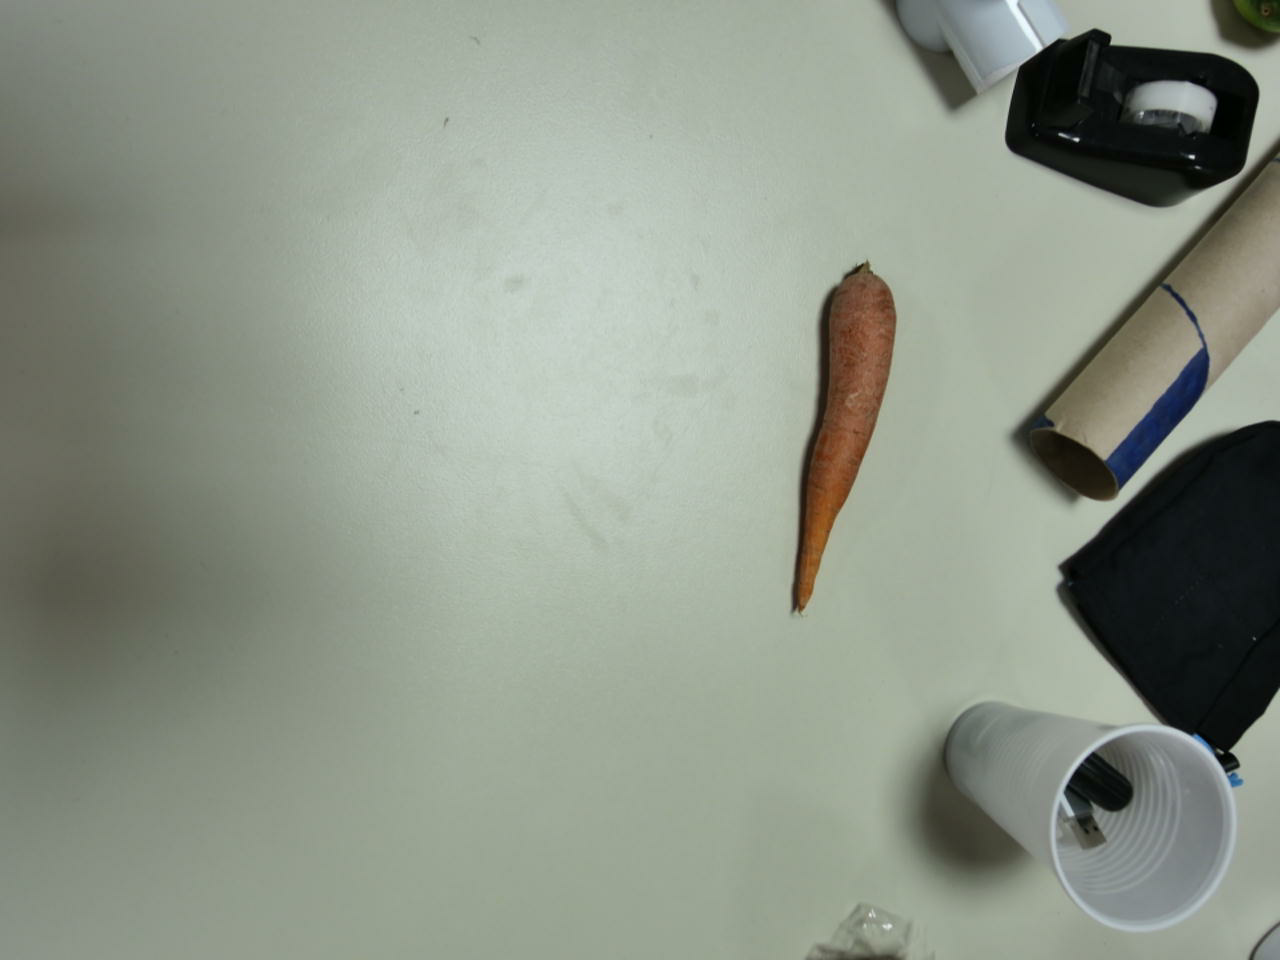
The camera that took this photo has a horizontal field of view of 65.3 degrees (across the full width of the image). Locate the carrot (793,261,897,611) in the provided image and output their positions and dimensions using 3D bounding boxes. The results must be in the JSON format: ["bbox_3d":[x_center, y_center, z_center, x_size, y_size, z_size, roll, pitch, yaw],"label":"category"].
[{"bbox_3d":[0.094,-0.020,0.461,0.031,0.029,0.163,9,88,-12],"label":"carrot"}]
